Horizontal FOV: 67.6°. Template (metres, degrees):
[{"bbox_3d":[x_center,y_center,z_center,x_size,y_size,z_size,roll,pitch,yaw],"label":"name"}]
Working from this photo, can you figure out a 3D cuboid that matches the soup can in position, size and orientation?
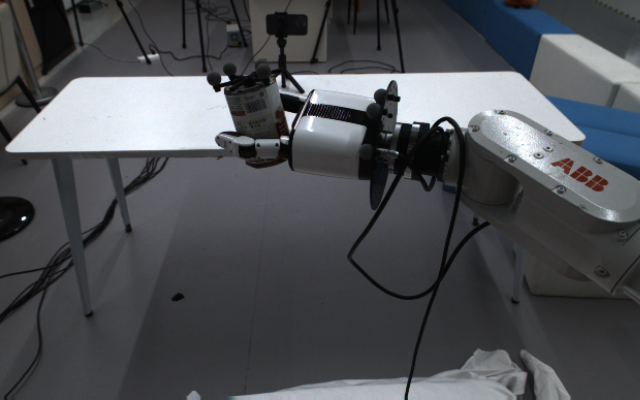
[{"bbox_3d":[-0.075,-0.100,0.616,0.067,0.101,0.067,-11,27,6],"label":"soup can"}]
